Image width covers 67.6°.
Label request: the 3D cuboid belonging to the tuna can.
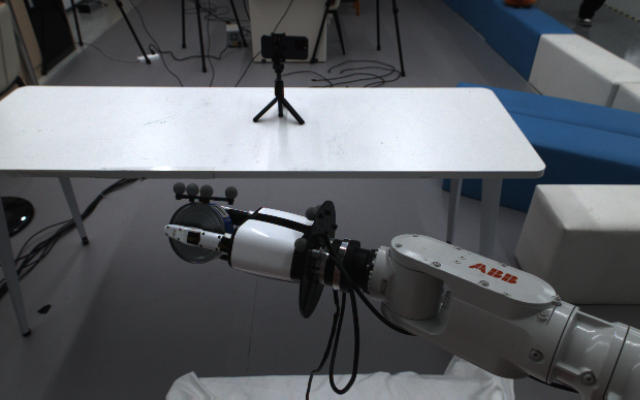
[{"bbox_3d":[-0.165,0.044,0.676,0.085,0.085,0.034,12,3,13],"label":"tuna can"}]
